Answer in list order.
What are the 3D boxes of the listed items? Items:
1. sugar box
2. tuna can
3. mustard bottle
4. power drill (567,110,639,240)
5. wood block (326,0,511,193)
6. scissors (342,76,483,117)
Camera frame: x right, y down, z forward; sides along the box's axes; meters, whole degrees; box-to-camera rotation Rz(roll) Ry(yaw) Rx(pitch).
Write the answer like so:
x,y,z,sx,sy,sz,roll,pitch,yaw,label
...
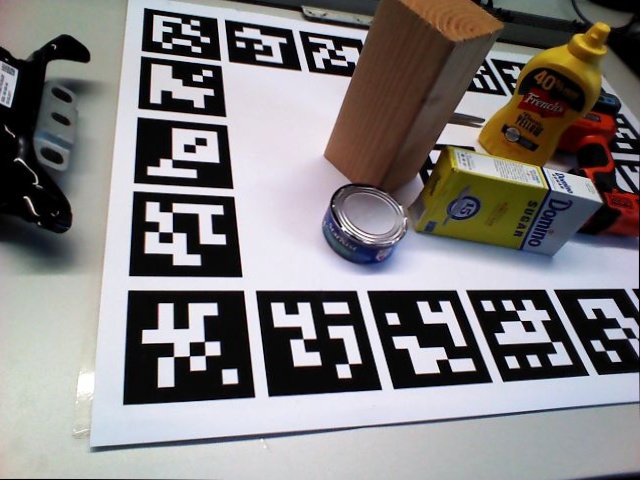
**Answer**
x,y,z,sx,sy,sz,roll,pitch,yaw,label
0.213,-0.034,0.570,0.176,0.093,0.045,12,50,-11,sugar box
0.050,-0.017,0.537,0.086,0.034,0.085,9,54,-13,tuna can
0.294,-0.170,0.639,0.096,0.193,0.058,42,55,12,mustard bottle
0.332,-0.094,0.671,0.184,0.058,0.186,12,60,-9,power drill
0.091,-0.147,0.550,0.090,0.207,0.090,-27,68,-31,wood block
0.131,-0.179,0.694,0.202,0.016,0.087,3,51,-16,scissors
